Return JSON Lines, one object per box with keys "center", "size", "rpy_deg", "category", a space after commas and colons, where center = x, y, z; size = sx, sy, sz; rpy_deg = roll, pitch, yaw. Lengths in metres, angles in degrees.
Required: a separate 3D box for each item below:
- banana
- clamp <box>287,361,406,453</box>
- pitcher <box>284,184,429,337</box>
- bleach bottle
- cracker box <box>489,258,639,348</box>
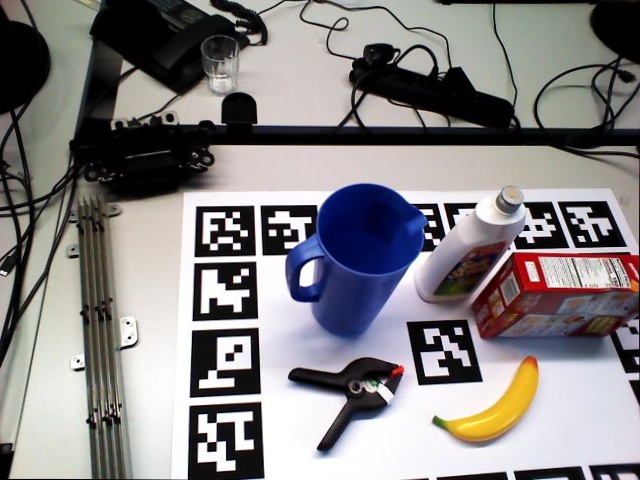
{"center": [0.267, 0.243, 0.755], "size": [0.196, 0.039, 0.074], "rpy_deg": [-31, 65, -22], "category": "banana"}
{"center": [0.047, 0.219, 0.740], "size": [0.165, 0.037, 0.121], "rpy_deg": [-14, 58, -16], "category": "clamp"}
{"center": [0.039, 0.041, 0.705], "size": [0.188, 0.244, 0.133], "rpy_deg": [-15, 60, -18], "category": "pitcher"}
{"center": [0.222, 0.017, 0.760], "size": [0.103, 0.252, 0.067], "rpy_deg": [0, 57, -6], "category": "bleach bottle"}
{"center": [0.378, 0.095, 0.759], "size": [0.214, 0.165, 0.071], "rpy_deg": [1, 55, -3], "category": "cracker box"}
